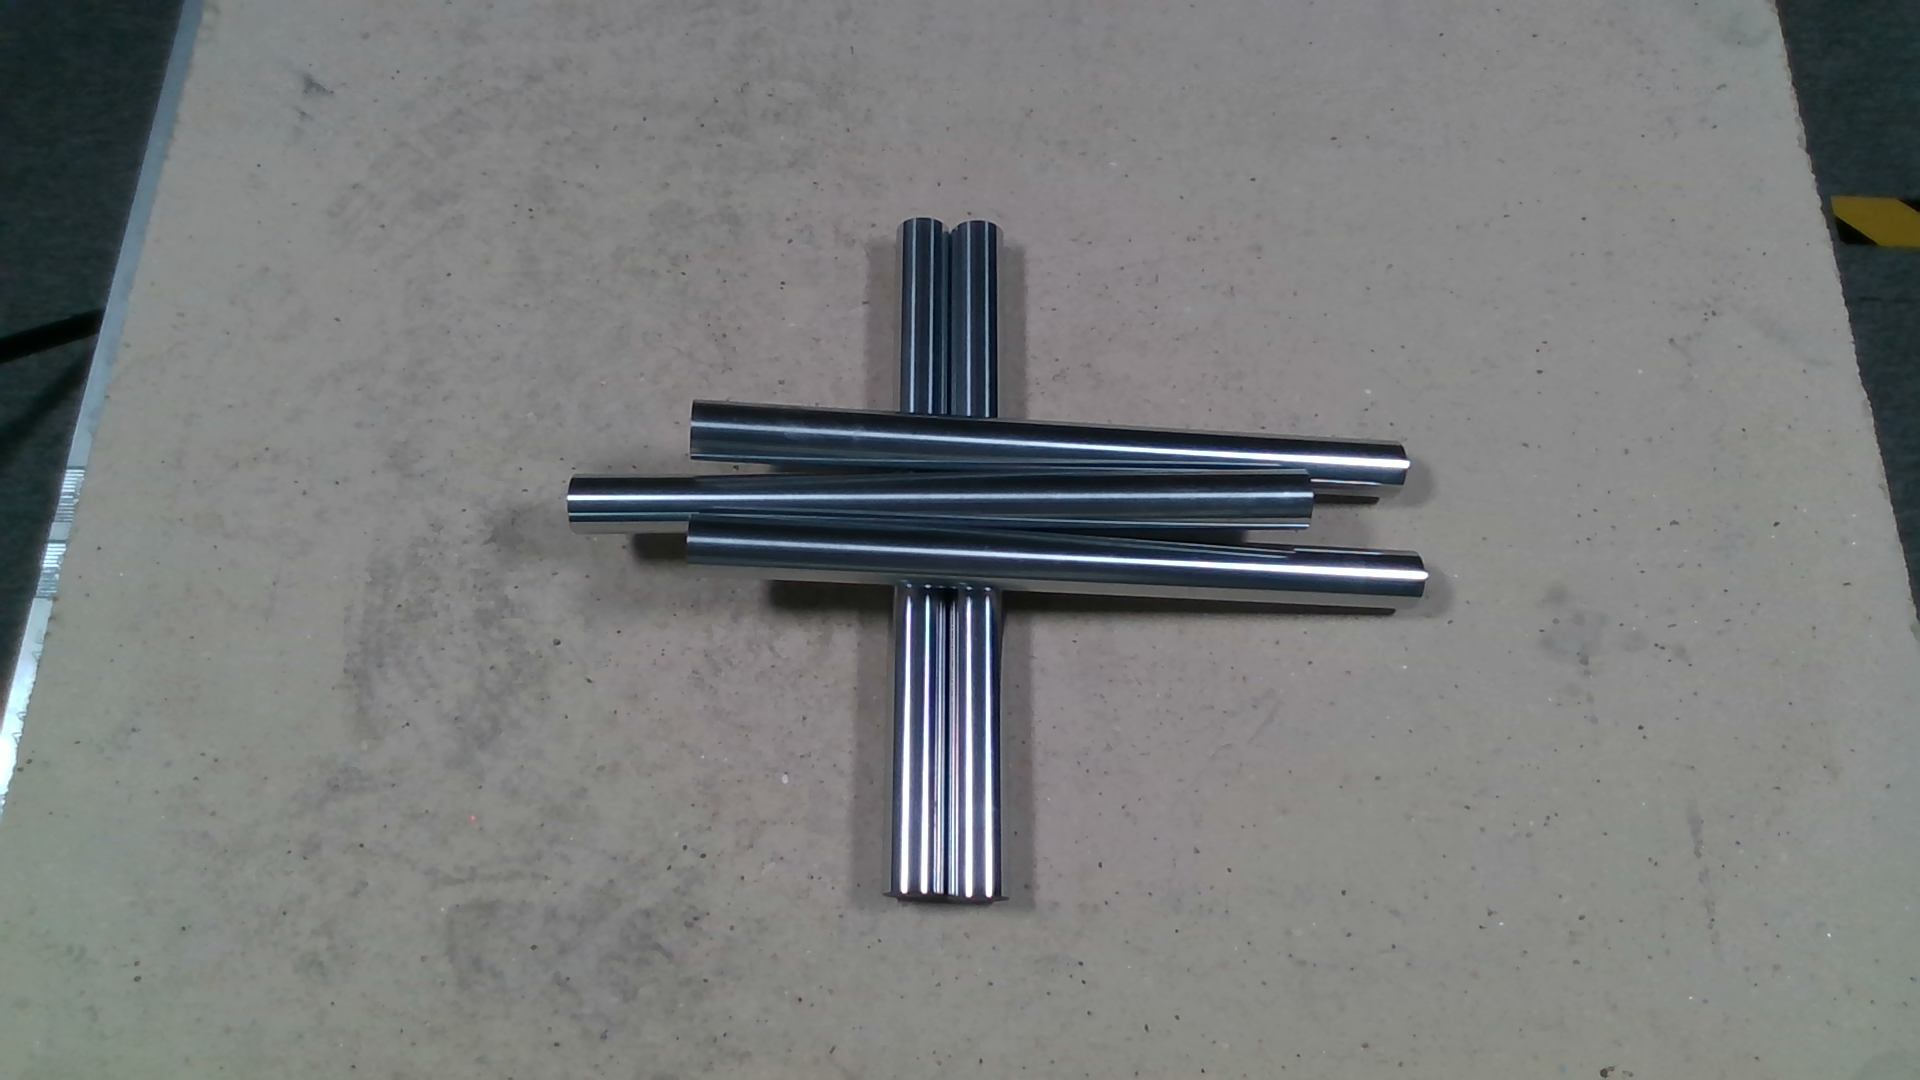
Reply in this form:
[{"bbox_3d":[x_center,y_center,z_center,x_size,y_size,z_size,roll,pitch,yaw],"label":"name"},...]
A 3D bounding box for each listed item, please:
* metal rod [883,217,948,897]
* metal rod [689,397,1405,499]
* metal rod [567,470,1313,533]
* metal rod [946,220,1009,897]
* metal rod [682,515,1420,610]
[{"bbox_3d":[-0.018,-0.002,0.590,0.025,0.025,0.299,0,70,0],"label":"metal rod"},{"bbox_3d":[0.040,-0.038,0.580,0.300,0.025,0.025,3,70,-8],"label":"metal rod"},{"bbox_3d":[-0.008,-0.016,0.567,0.300,0.025,0.025,0,70,0],"label":"metal rod"},{"bbox_3d":[0.007,-0.001,0.589,0.025,0.025,0.299,0,70,0],"label":"metal rod"},{"bbox_3d":[0.040,0.010,0.562,0.300,0.025,0.025,3,70,-8],"label":"metal rod"}]
